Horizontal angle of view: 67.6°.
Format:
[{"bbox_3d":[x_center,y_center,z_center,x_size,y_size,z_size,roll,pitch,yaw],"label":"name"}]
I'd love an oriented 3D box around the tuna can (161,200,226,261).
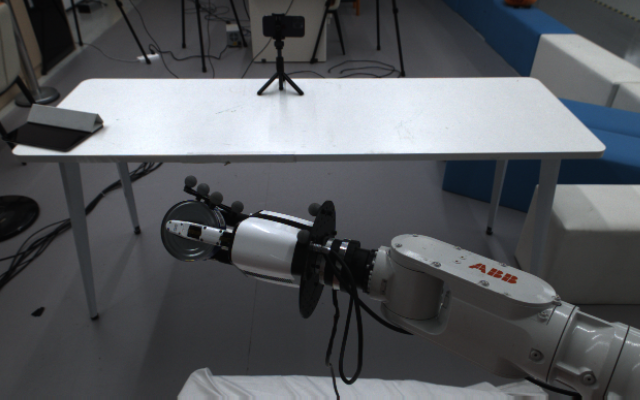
[{"bbox_3d":[-0.176,0.045,0.682,0.085,0.085,0.034,9,-5,10],"label":"tuna can"}]
